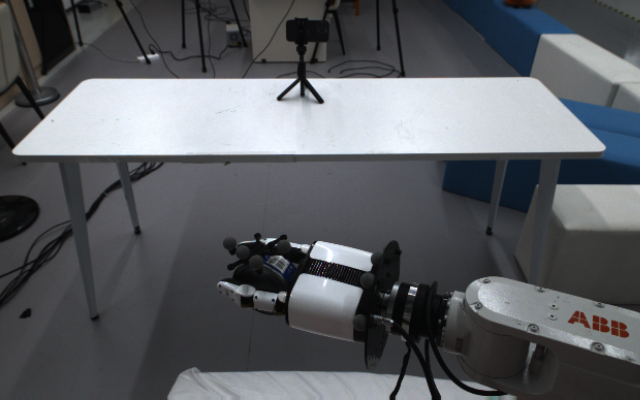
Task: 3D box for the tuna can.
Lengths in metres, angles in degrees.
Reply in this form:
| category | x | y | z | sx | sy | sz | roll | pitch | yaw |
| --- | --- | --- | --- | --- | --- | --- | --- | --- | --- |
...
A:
| category | x | y | z | sx | sy | sz | roll | pitch | yaw |
| --- | --- | --- | --- | --- | --- | --- | --- | --- | --- |
| tuna can | -0.066 | 0.108 | 0.633 | 0.085 | 0.085 | 0.034 | 14 | 34 | 17 |
